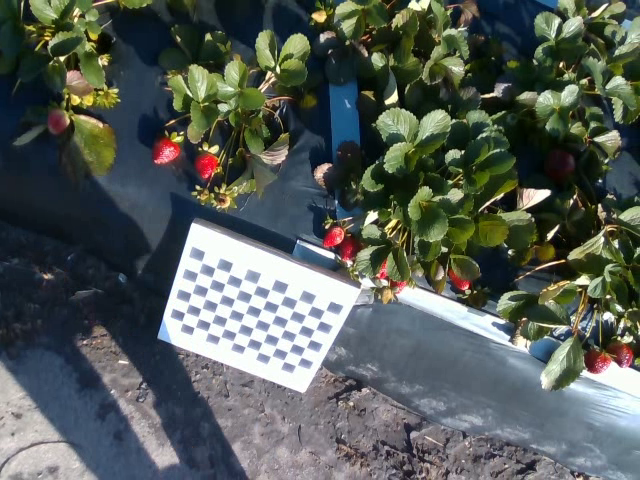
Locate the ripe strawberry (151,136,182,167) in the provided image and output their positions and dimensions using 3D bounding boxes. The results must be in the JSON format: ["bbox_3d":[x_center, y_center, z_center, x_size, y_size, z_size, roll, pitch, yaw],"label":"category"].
[{"bbox_3d":[-0.253,-0.140,1.015,0.050,0.050,0.044,36,-33,-16],"label":"ripe strawberry"}]

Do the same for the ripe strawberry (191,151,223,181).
[{"bbox_3d":[-0.184,-0.117,1.022,0.042,0.049,0.039,-13,-32,22],"label":"ripe strawberry"}]
